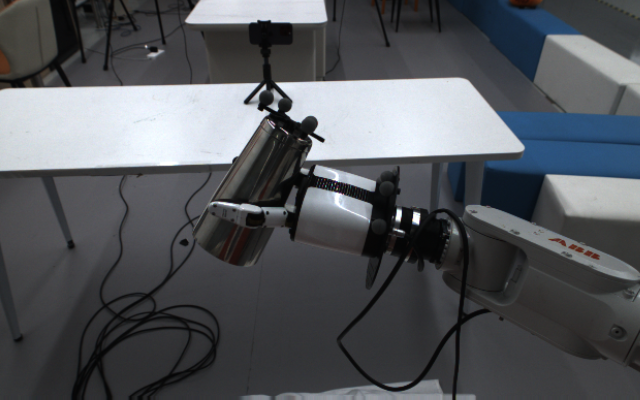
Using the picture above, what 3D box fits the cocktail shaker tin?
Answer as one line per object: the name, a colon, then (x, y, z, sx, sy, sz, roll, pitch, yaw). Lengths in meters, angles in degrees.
cocktail shaker tin: (-0.078, -0.013, 0.595, 0.093, 0.170, 0.093, 28, 13, -7)
